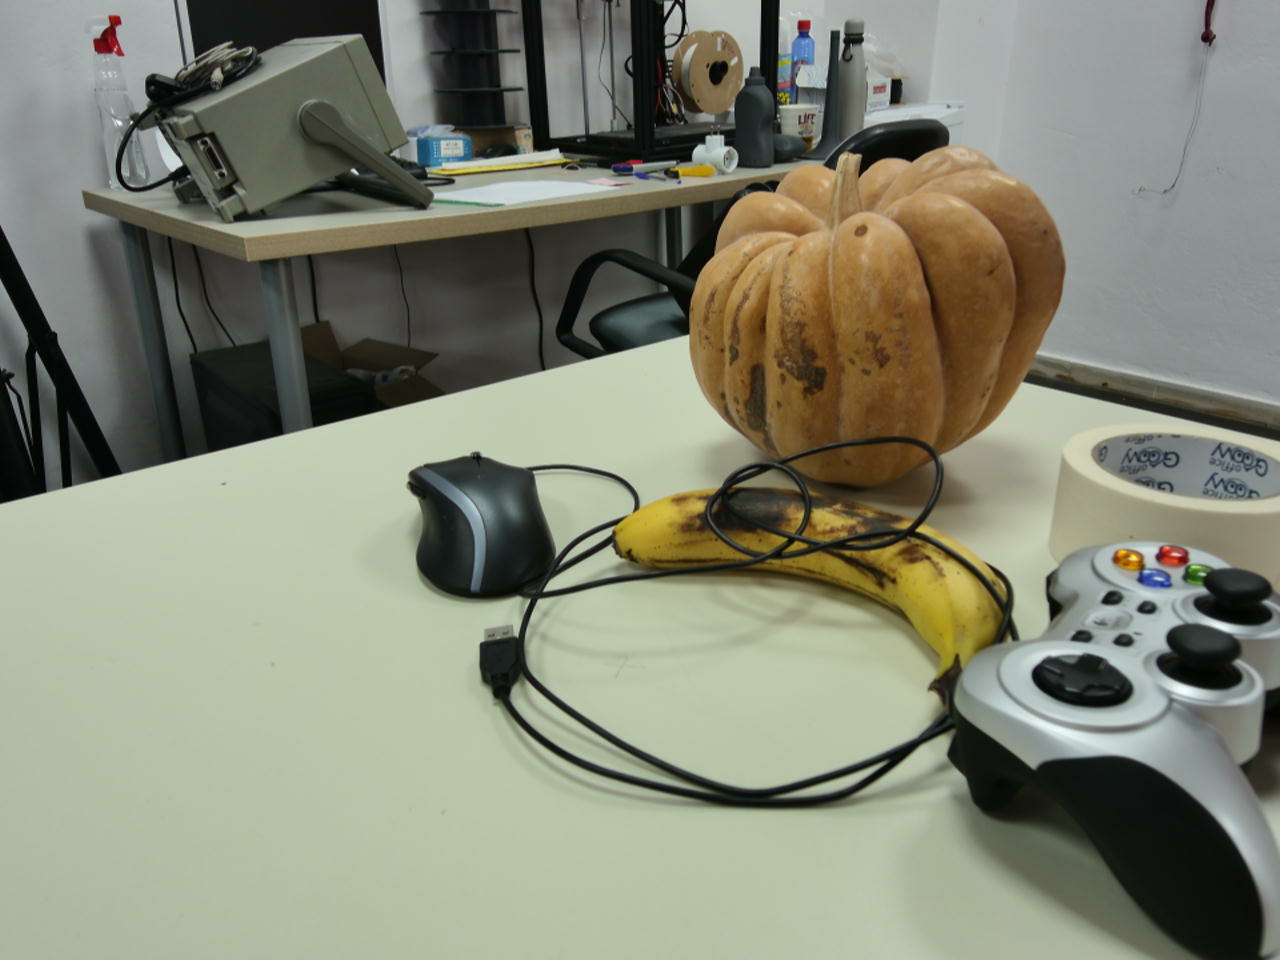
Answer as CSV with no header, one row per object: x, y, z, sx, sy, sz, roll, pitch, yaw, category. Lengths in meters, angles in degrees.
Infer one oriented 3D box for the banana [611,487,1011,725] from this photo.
0.080,0.038,0.433,0.094,0.039,0.187,-18,27,-37,banana
